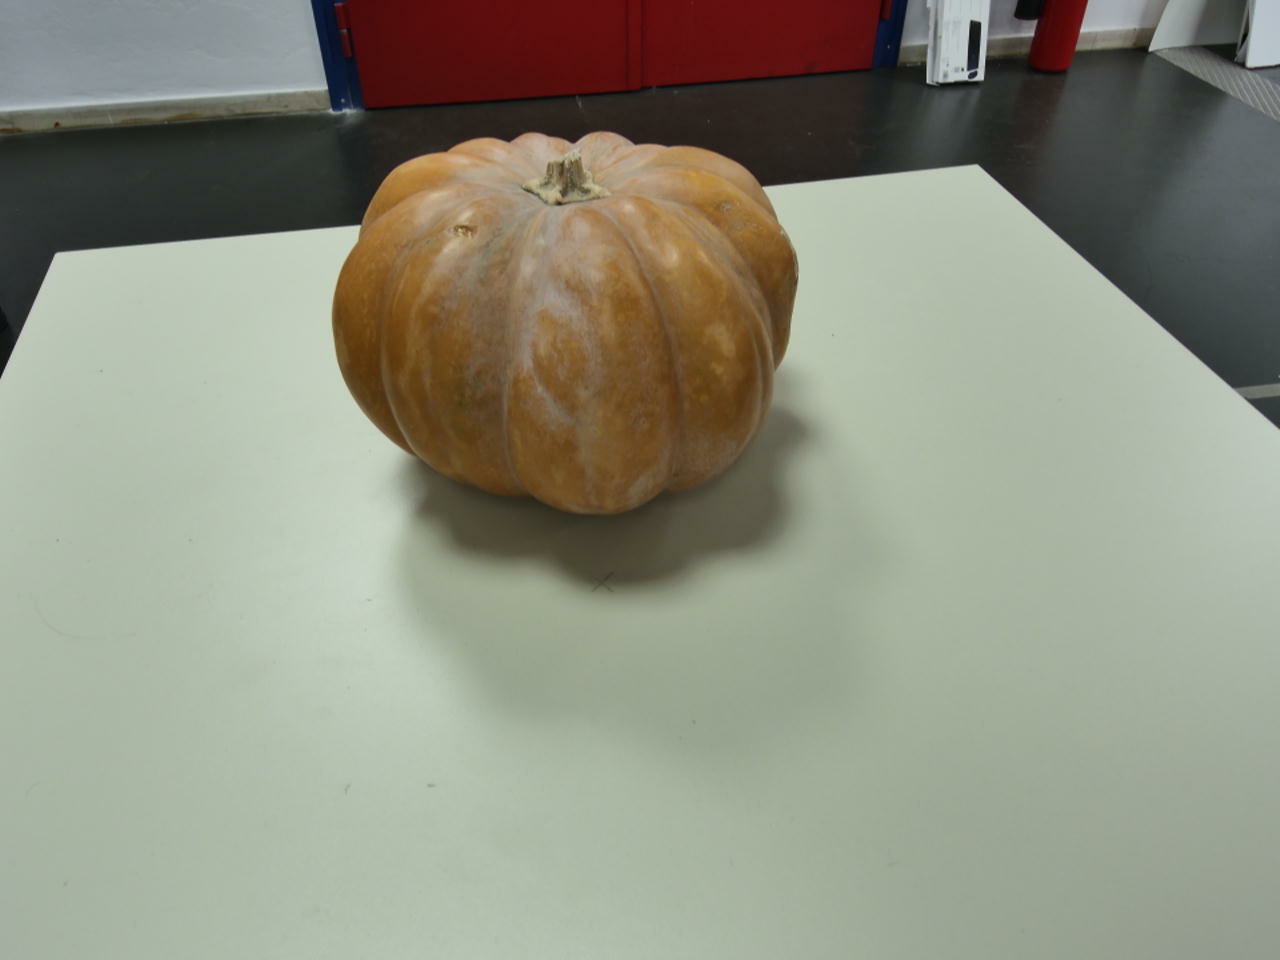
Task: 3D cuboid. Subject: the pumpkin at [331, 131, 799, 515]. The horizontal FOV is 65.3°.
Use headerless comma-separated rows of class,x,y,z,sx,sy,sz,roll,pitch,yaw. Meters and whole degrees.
pumpkin,-0.039,-0.097,0.575,0.277,0.181,0.277,0,39,0
